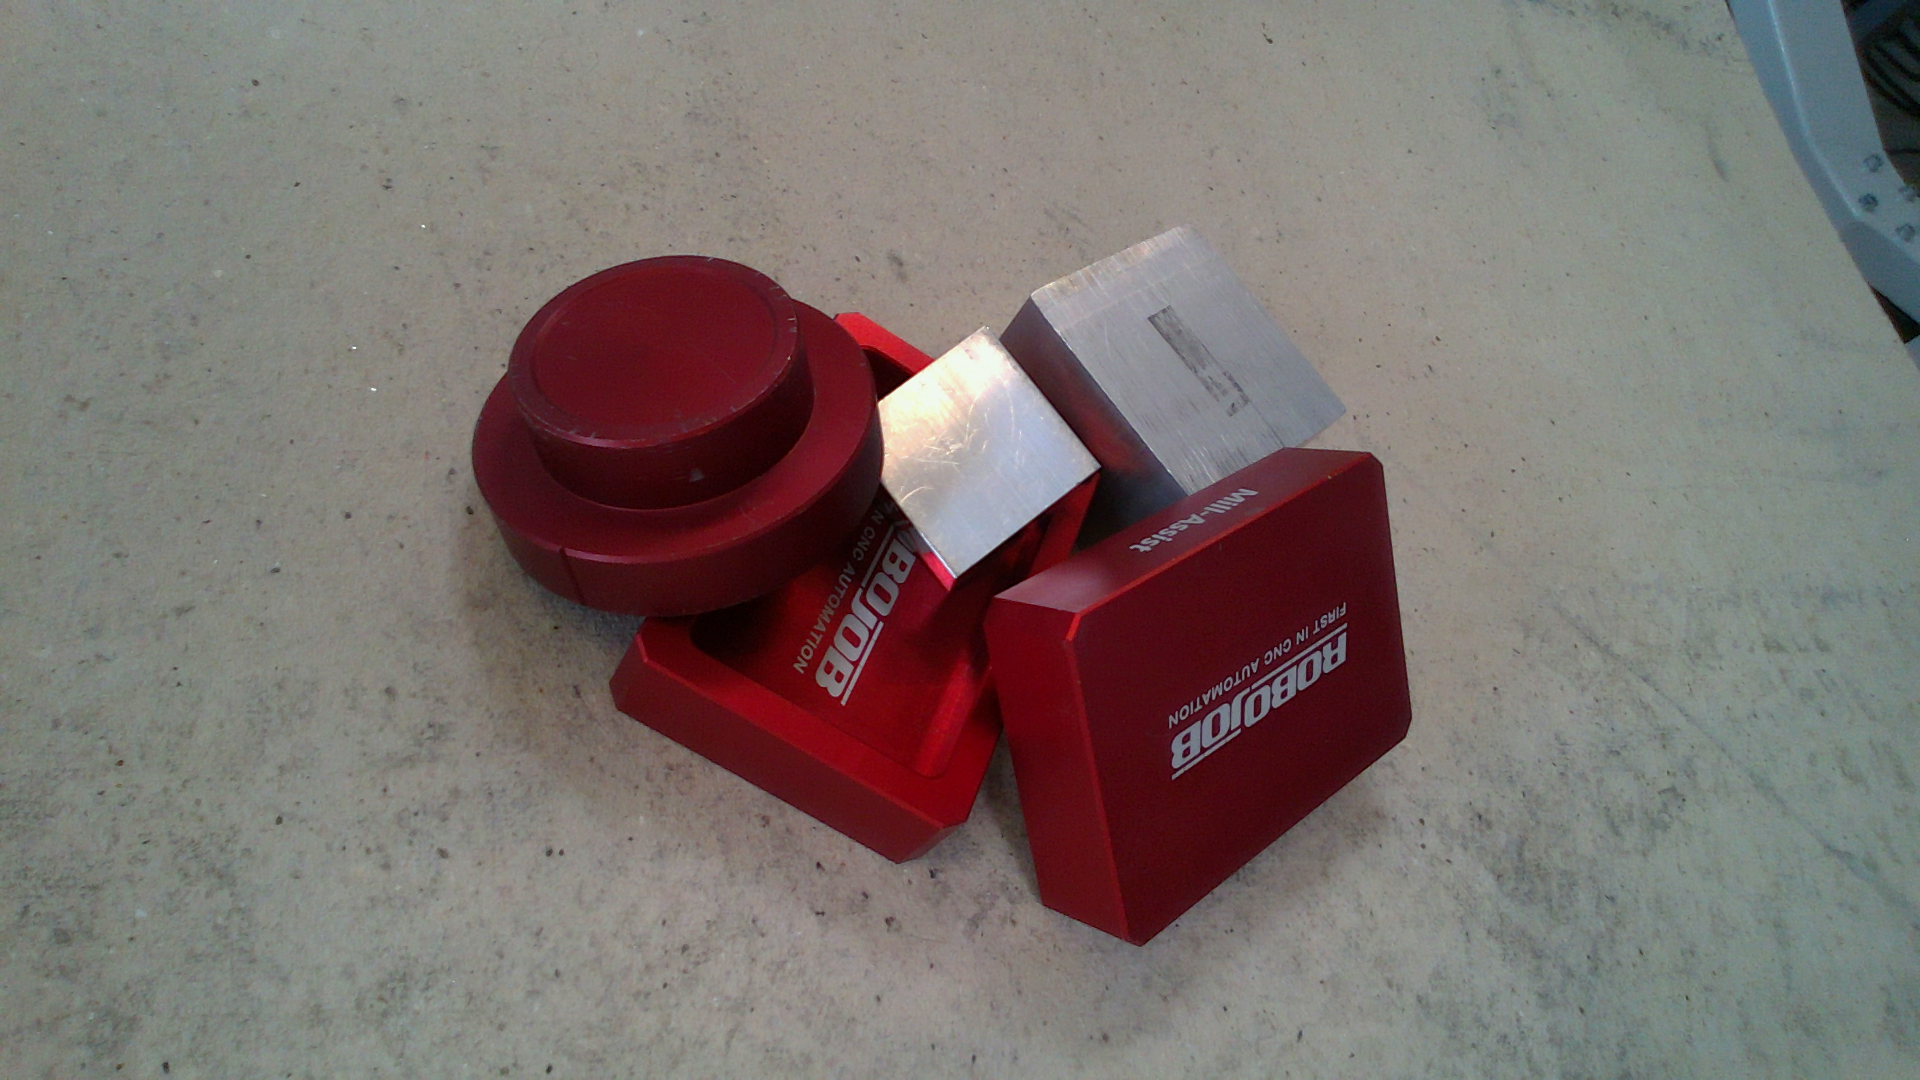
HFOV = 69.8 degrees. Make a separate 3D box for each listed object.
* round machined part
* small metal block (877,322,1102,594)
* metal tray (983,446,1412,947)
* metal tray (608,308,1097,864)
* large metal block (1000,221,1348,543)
[{"bbox_3d":[-0.070,-0.032,0.334,0.098,0.042,0.098,-2,48,3],"label":"round machined part"},{"bbox_3d":[0.002,-0.022,0.374,0.050,0.025,0.050,-38,84,-11],"label":"small metal block"},{"bbox_3d":[0.070,0.036,0.372,0.130,0.030,0.090,-25,111,-36],"label":"metal tray"},{"bbox_3d":[-0.022,0.008,0.369,0.090,0.030,0.130,31,52,-9],"label":"metal tray"},{"bbox_3d":[0.060,-0.044,0.434,0.080,0.050,0.080,-30,78,-38],"label":"large metal block"}]
